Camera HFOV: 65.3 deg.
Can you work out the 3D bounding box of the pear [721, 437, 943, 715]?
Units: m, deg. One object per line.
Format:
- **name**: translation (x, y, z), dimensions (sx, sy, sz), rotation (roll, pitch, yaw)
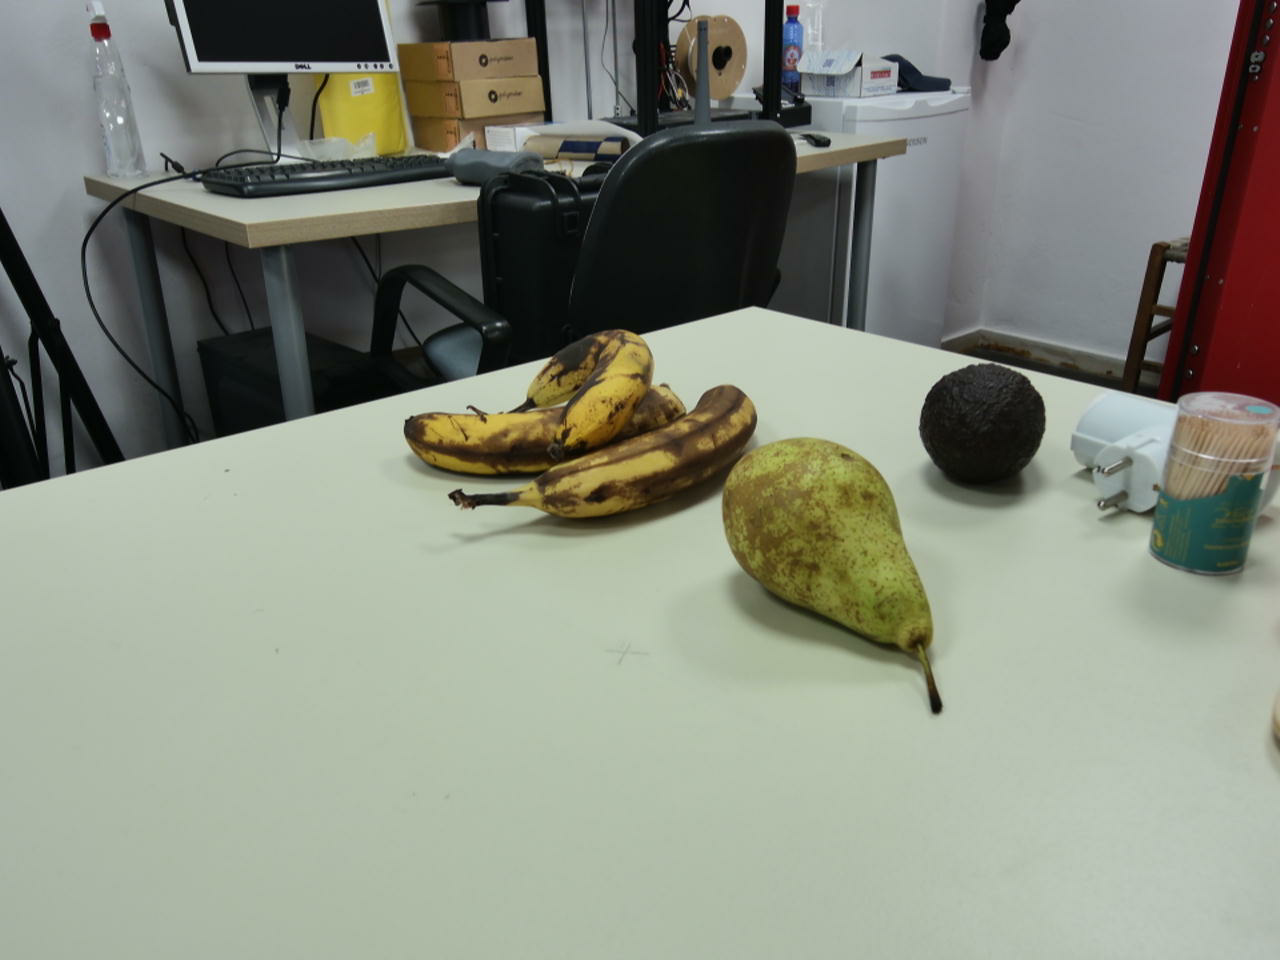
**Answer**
- **pear**: translation (0.089, 0.025, 0.424), dimensions (0.128, 0.075, 0.071), rotation (20, 29, 39)
